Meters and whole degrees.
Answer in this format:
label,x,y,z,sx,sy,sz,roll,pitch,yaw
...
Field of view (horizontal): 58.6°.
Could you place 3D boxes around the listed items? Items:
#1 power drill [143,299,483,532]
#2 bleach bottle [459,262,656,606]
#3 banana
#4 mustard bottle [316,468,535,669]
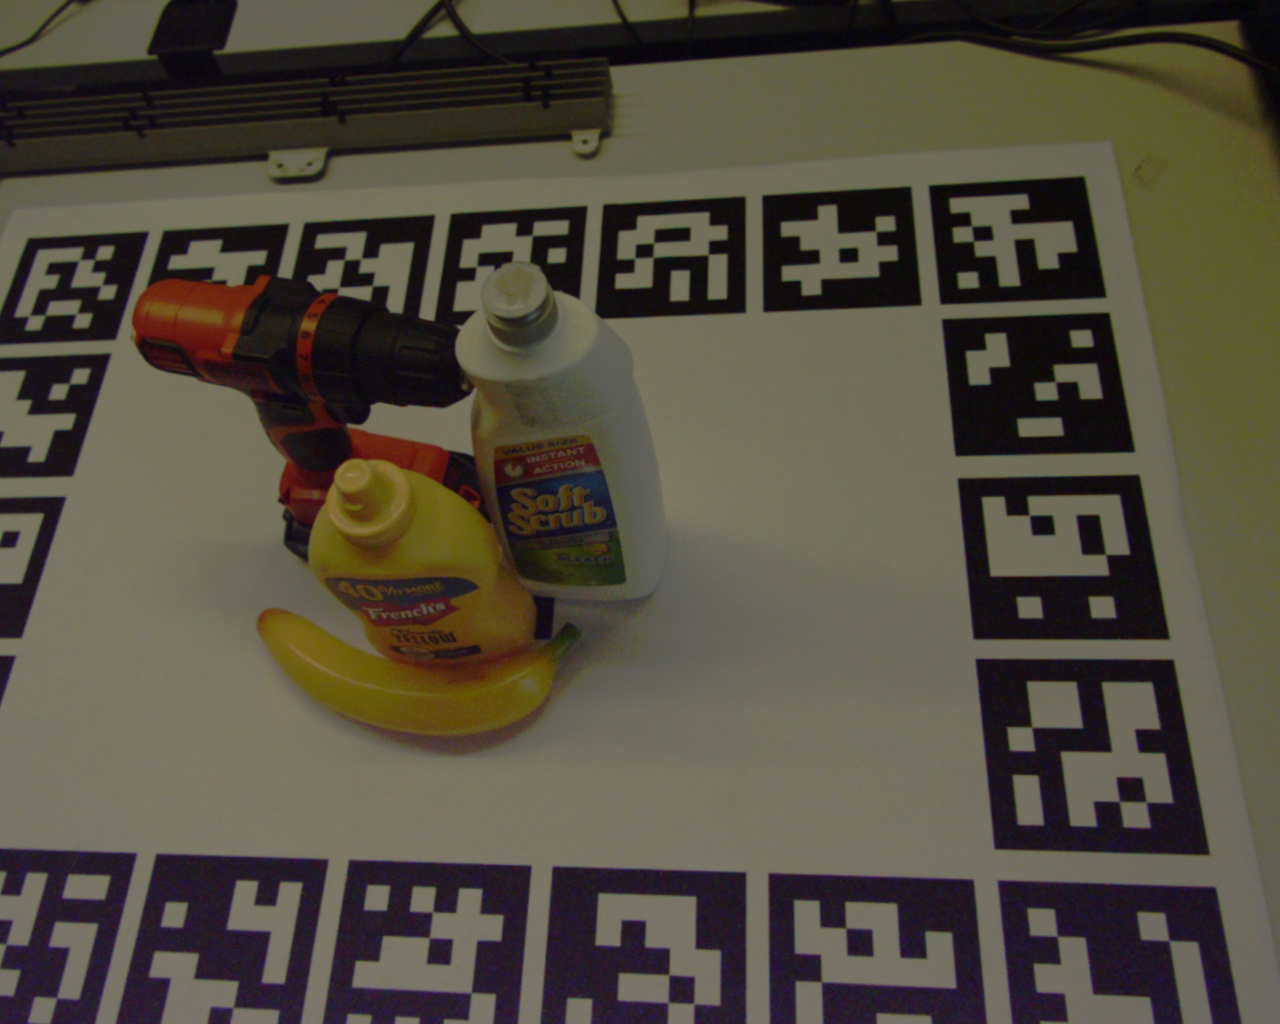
label,x,y,z,sx,sy,sz,roll,pitch,yaw
power drill,-0.159,-0.043,0.635,0.186,0.186,0.057,11,64,12
bleach bottle,-0.050,-0.035,0.609,0.103,0.249,0.068,2,58,9
banana,-0.132,0.094,0.680,0.198,0.038,0.074,3,65,13
mustard bottle,-0.120,0.029,0.615,0.096,0.190,0.058,0,64,7
